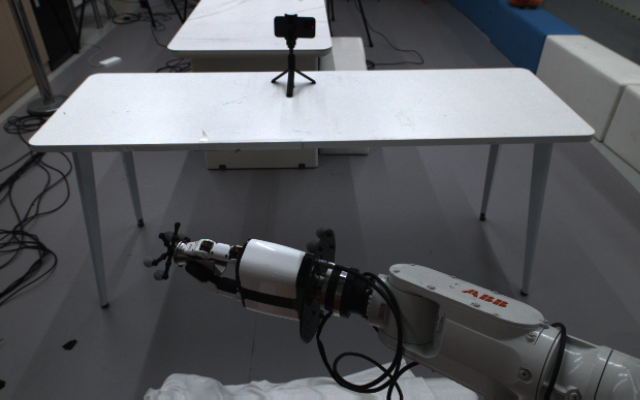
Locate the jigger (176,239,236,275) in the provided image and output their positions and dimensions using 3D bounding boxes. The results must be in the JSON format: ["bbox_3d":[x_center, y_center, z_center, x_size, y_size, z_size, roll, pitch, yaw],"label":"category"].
[{"bbox_3d":[-0.172,0.081,0.720,0.071,0.043,0.043,10,35,16],"label":"jigger"}]
